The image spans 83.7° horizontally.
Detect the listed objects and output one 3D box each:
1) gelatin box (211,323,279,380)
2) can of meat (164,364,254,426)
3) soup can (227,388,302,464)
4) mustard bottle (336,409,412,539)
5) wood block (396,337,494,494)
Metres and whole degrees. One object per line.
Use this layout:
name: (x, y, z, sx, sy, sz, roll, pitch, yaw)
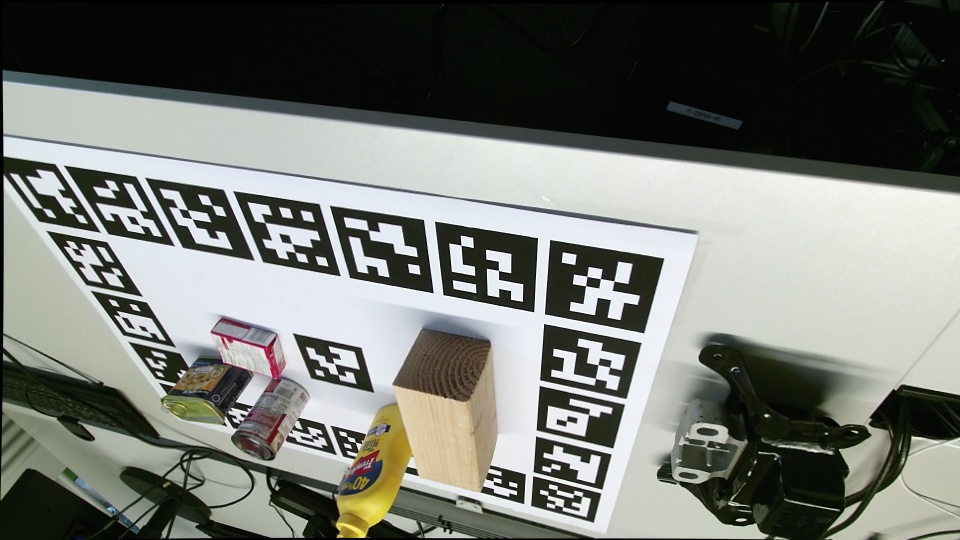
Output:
gelatin box: (-0.332, 0.119, 0.754, 0.089, 0.030, 0.073, 16, 132, 4)
can of meat: (-0.410, 0.191, 0.817, 0.102, 0.083, 0.058, 0, 129, 24)
soup can: (-0.321, 0.236, 0.797, 0.068, 0.101, 0.068, 10, 131, 12)
mustard bottle: (-0.142, 0.282, 0.727, 0.096, 0.191, 0.058, -11, 125, 30)
wood block: (-0.037, 0.189, 0.669, 0.091, 0.089, 0.206, 11, 137, 13)
